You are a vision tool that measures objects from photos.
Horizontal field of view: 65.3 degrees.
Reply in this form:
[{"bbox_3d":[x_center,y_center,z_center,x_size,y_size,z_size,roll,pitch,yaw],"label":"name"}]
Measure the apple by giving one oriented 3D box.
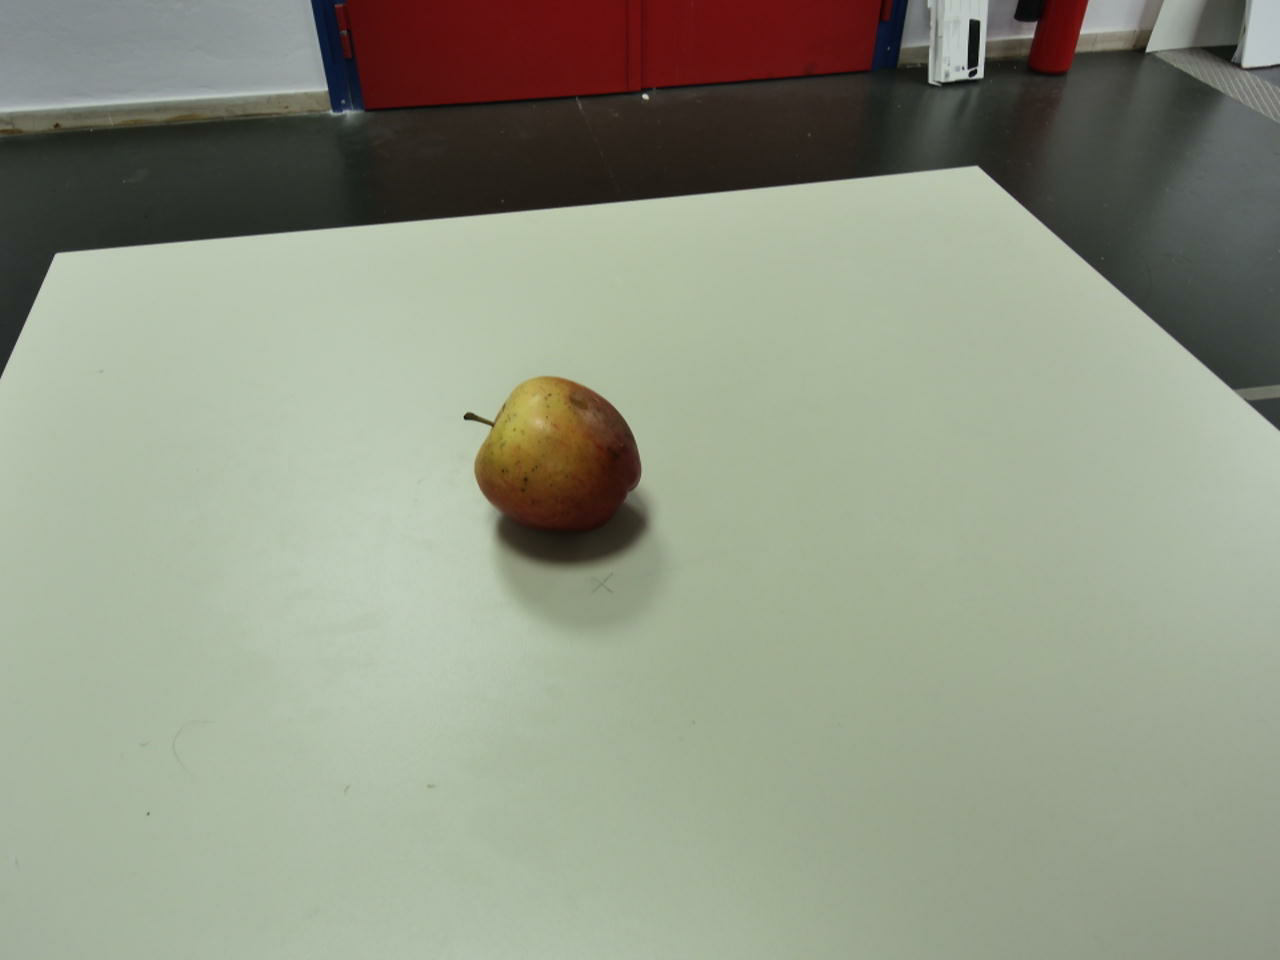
[{"bbox_3d":[-0.048,-0.014,0.551,0.093,0.084,0.086,30,47,31],"label":"apple"}]
